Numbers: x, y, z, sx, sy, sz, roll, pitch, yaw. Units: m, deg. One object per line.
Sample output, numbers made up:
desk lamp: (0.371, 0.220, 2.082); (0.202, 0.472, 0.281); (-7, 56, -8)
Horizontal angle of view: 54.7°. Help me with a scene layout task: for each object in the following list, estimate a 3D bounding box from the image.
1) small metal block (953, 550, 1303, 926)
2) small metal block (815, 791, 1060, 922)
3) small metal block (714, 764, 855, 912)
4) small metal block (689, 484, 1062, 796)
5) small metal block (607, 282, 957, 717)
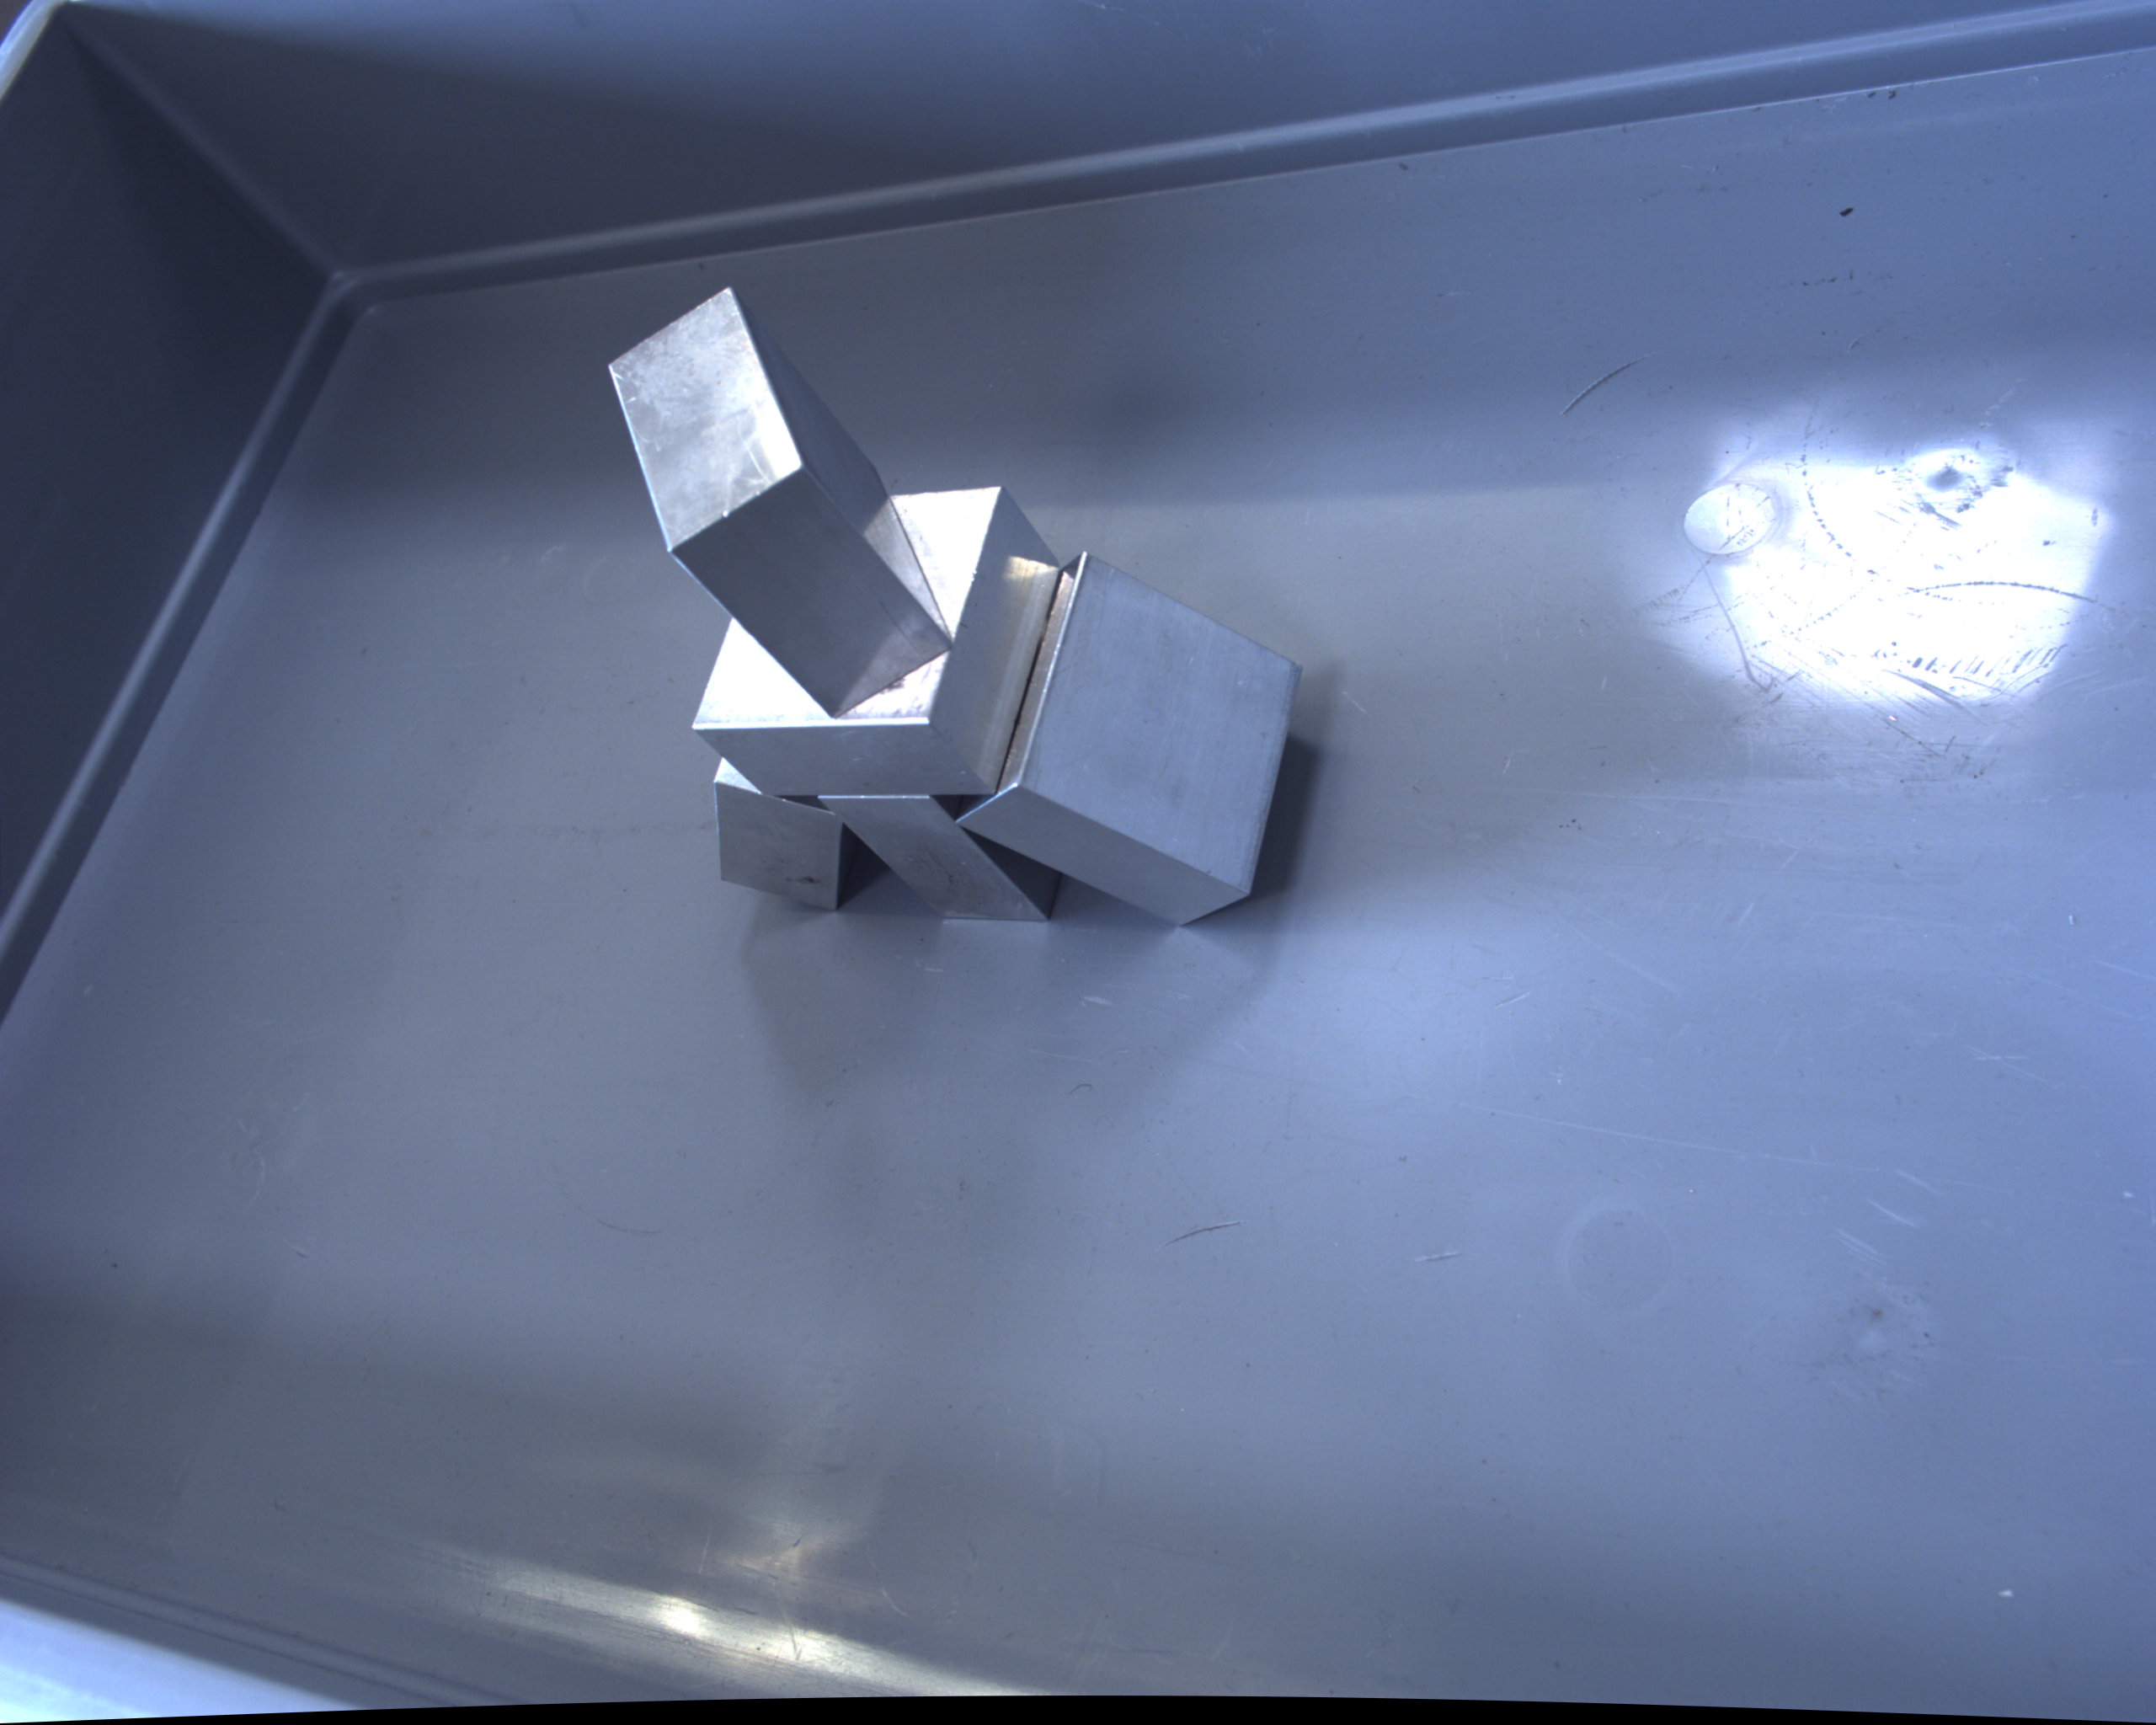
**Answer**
small metal block: (0.010, -0.023, 0.393); (0.025, 0.050, 0.050); (-28, 42, 56)
small metal block: (-0.021, -0.022, 0.412); (0.025, 0.050, 0.050); (1, 62, 29)
small metal block: (-0.054, -0.024, 0.427); (0.025, 0.050, 0.050); (16, 66, -2)
small metal block: (-0.036, -0.040, 0.382); (0.050, 0.025, 0.050); (1, 62, 28)
small metal block: (-0.050, -0.061, 0.354); (0.025, 0.050, 0.050); (-31, 51, 9)
